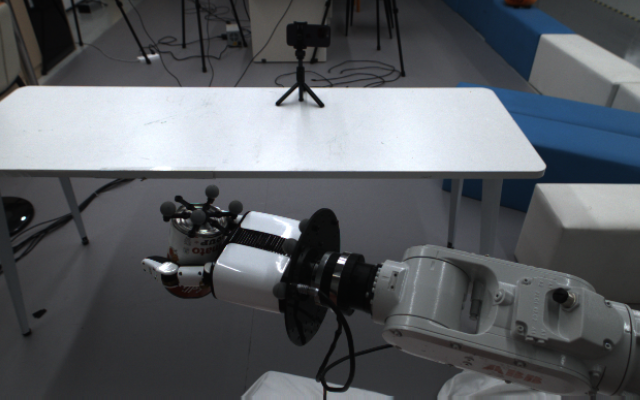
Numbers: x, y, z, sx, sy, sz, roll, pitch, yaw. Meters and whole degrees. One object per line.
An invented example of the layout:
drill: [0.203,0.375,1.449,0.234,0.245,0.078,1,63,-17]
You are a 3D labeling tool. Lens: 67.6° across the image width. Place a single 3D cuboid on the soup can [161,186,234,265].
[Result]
soup can: [-0.155,0.065,0.600,0.067,0.101,0.067,13,30,-8]
